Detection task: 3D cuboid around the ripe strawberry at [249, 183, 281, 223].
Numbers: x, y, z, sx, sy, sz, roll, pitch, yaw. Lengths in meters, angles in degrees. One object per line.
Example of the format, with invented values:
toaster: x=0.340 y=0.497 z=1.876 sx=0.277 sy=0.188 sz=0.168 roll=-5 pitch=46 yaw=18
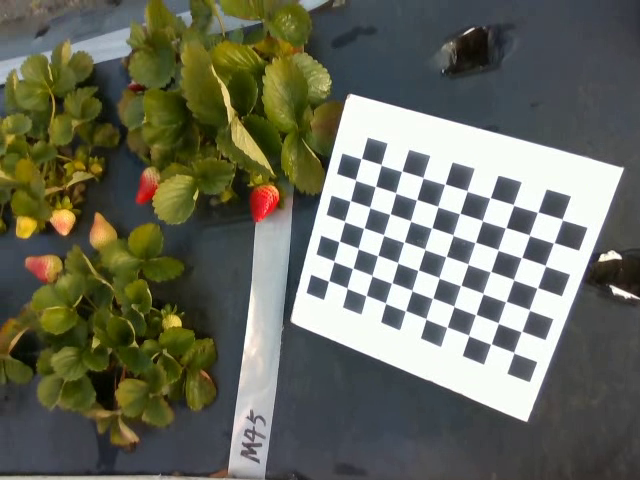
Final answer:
ripe strawberry: x=-0.063 y=-0.039 z=0.692 sx=0.050 sy=0.055 sz=0.035 roll=12 pitch=-6 yaw=14
